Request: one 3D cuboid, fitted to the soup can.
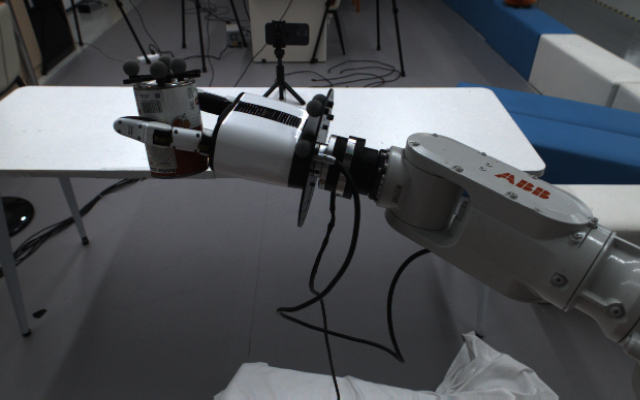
[{"bbox_3d":[-0.164,-0.081,0.546,0.067,0.101,0.067,-4,21,2],"label":"soup can"}]
